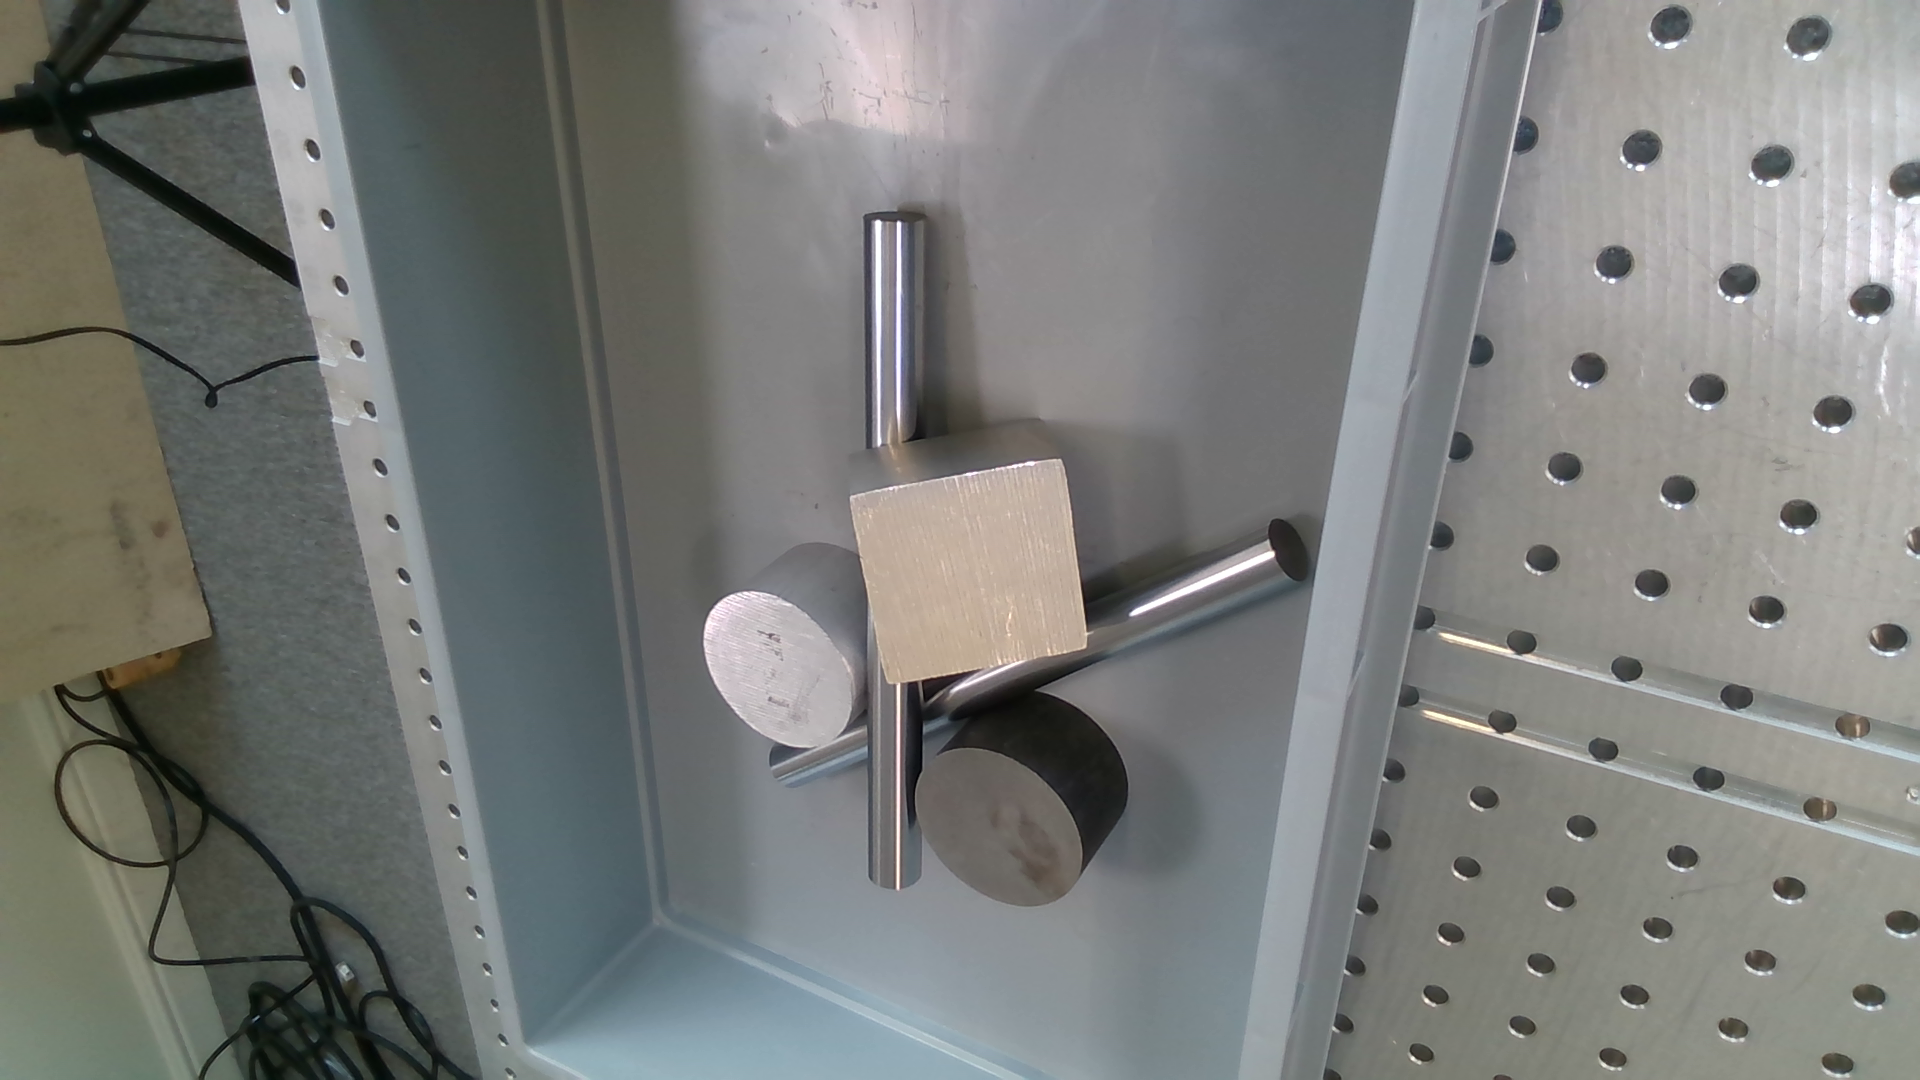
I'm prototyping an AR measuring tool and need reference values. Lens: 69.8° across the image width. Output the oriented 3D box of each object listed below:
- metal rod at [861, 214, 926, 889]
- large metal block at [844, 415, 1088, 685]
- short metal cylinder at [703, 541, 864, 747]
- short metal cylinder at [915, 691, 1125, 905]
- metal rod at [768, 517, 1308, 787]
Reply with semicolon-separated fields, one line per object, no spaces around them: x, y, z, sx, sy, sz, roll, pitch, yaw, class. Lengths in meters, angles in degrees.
-0.028;0.015;0.583;0.025;0.025;0.301;13;115;26;metal rod
0.002;0.003;0.540;0.080;0.050;0.080;-10;113;-2;large metal block
-0.070;0.047;0.632;0.080;0.050;0.080;14;122;25;short metal cylinder
0.027;0.113;0.609;0.080;0.050;0.080;14;122;25;short metal cylinder
0.017;0.058;0.601;0.300;0.025;0.025;-28;99;39;metal rod
